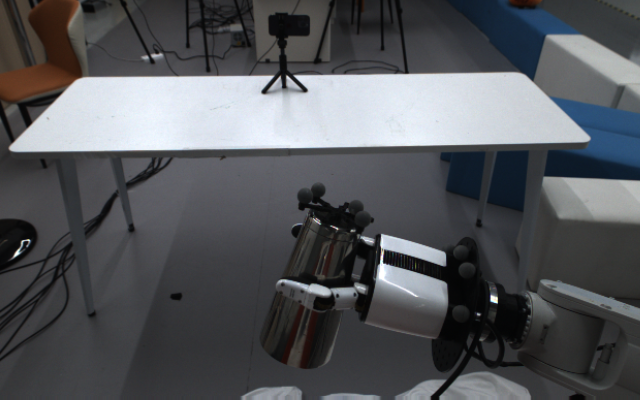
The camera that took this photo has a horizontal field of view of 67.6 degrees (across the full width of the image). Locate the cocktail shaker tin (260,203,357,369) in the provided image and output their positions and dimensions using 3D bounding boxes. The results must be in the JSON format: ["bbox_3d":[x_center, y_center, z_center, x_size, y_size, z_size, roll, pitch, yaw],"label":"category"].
[{"bbox_3d":[-0.006,0.099,0.569,0.093,0.170,0.093,15,17,-5],"label":"cocktail shaker tin"}]
